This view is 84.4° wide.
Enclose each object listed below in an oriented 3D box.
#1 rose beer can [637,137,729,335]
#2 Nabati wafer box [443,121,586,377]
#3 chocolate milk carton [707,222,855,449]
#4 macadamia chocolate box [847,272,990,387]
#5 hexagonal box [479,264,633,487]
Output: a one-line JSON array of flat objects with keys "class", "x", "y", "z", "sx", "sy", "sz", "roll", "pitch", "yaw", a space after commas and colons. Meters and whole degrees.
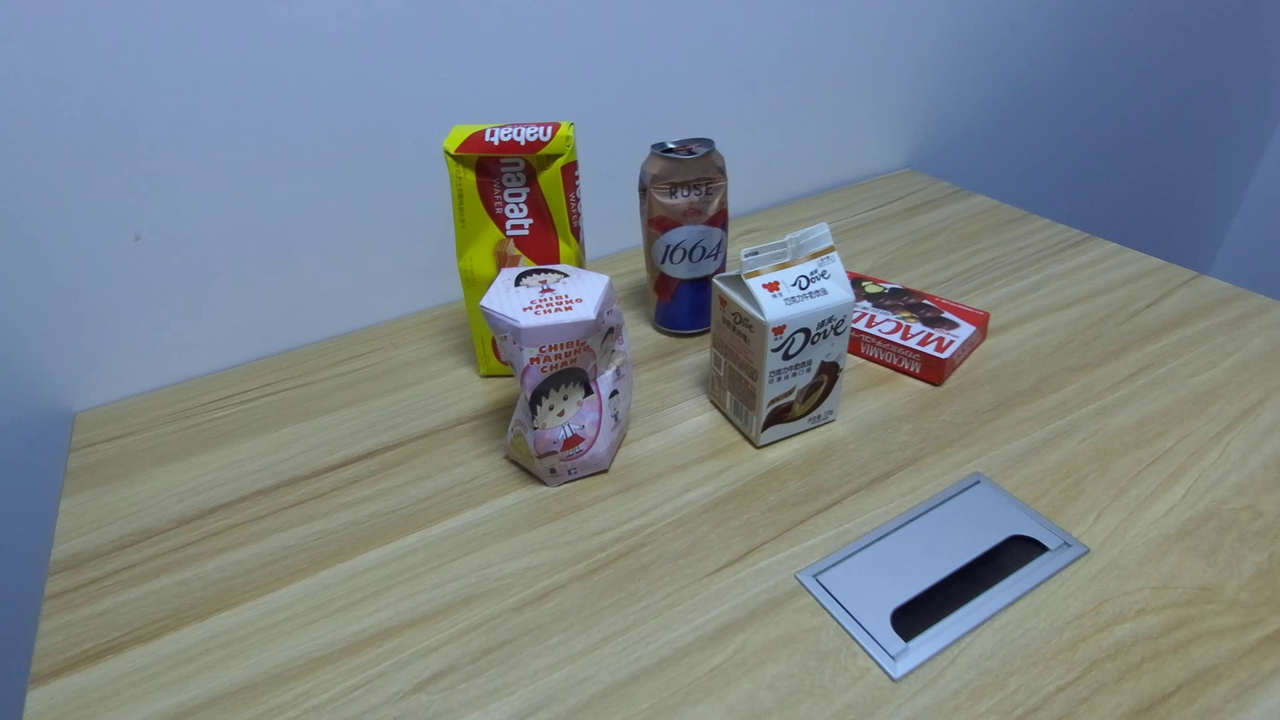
[{"class": "rose beer can", "x": 0.041, "y": -0.104, "z": 0.614, "sx": 0.076, "sy": 0.167, "sz": 0.065, "roll": -1, "pitch": 29, "yaw": 8}, {"class": "Nabati wafer box", "x": -0.093, "y": -0.080, "z": 0.562, "sx": 0.096, "sy": 0.203, "sz": 0.042, "roll": 1, "pitch": 32, "yaw": 2}, {"class": "chocolate milk carton", "x": 0.099, "y": -0.023, "z": 0.507, "sx": 0.075, "sy": 0.148, "sz": 0.073, "roll": -16, "pitch": 37, "yaw": -21}, {"class": "macadamia chocolate box", "x": 0.205, "y": -0.042, "z": 0.638, "sx": 0.186, "sy": 0.027, "sz": 0.103, "roll": 25, "pitch": 42, "yaw": 35}, {"class": "hexagonal box", "x": -0.060, "y": 0.011, "z": 0.487, "sx": 0.093, "sy": 0.135, "sz": 0.089, "roll": 21, "pitch": 41, "yaw": 31}]
